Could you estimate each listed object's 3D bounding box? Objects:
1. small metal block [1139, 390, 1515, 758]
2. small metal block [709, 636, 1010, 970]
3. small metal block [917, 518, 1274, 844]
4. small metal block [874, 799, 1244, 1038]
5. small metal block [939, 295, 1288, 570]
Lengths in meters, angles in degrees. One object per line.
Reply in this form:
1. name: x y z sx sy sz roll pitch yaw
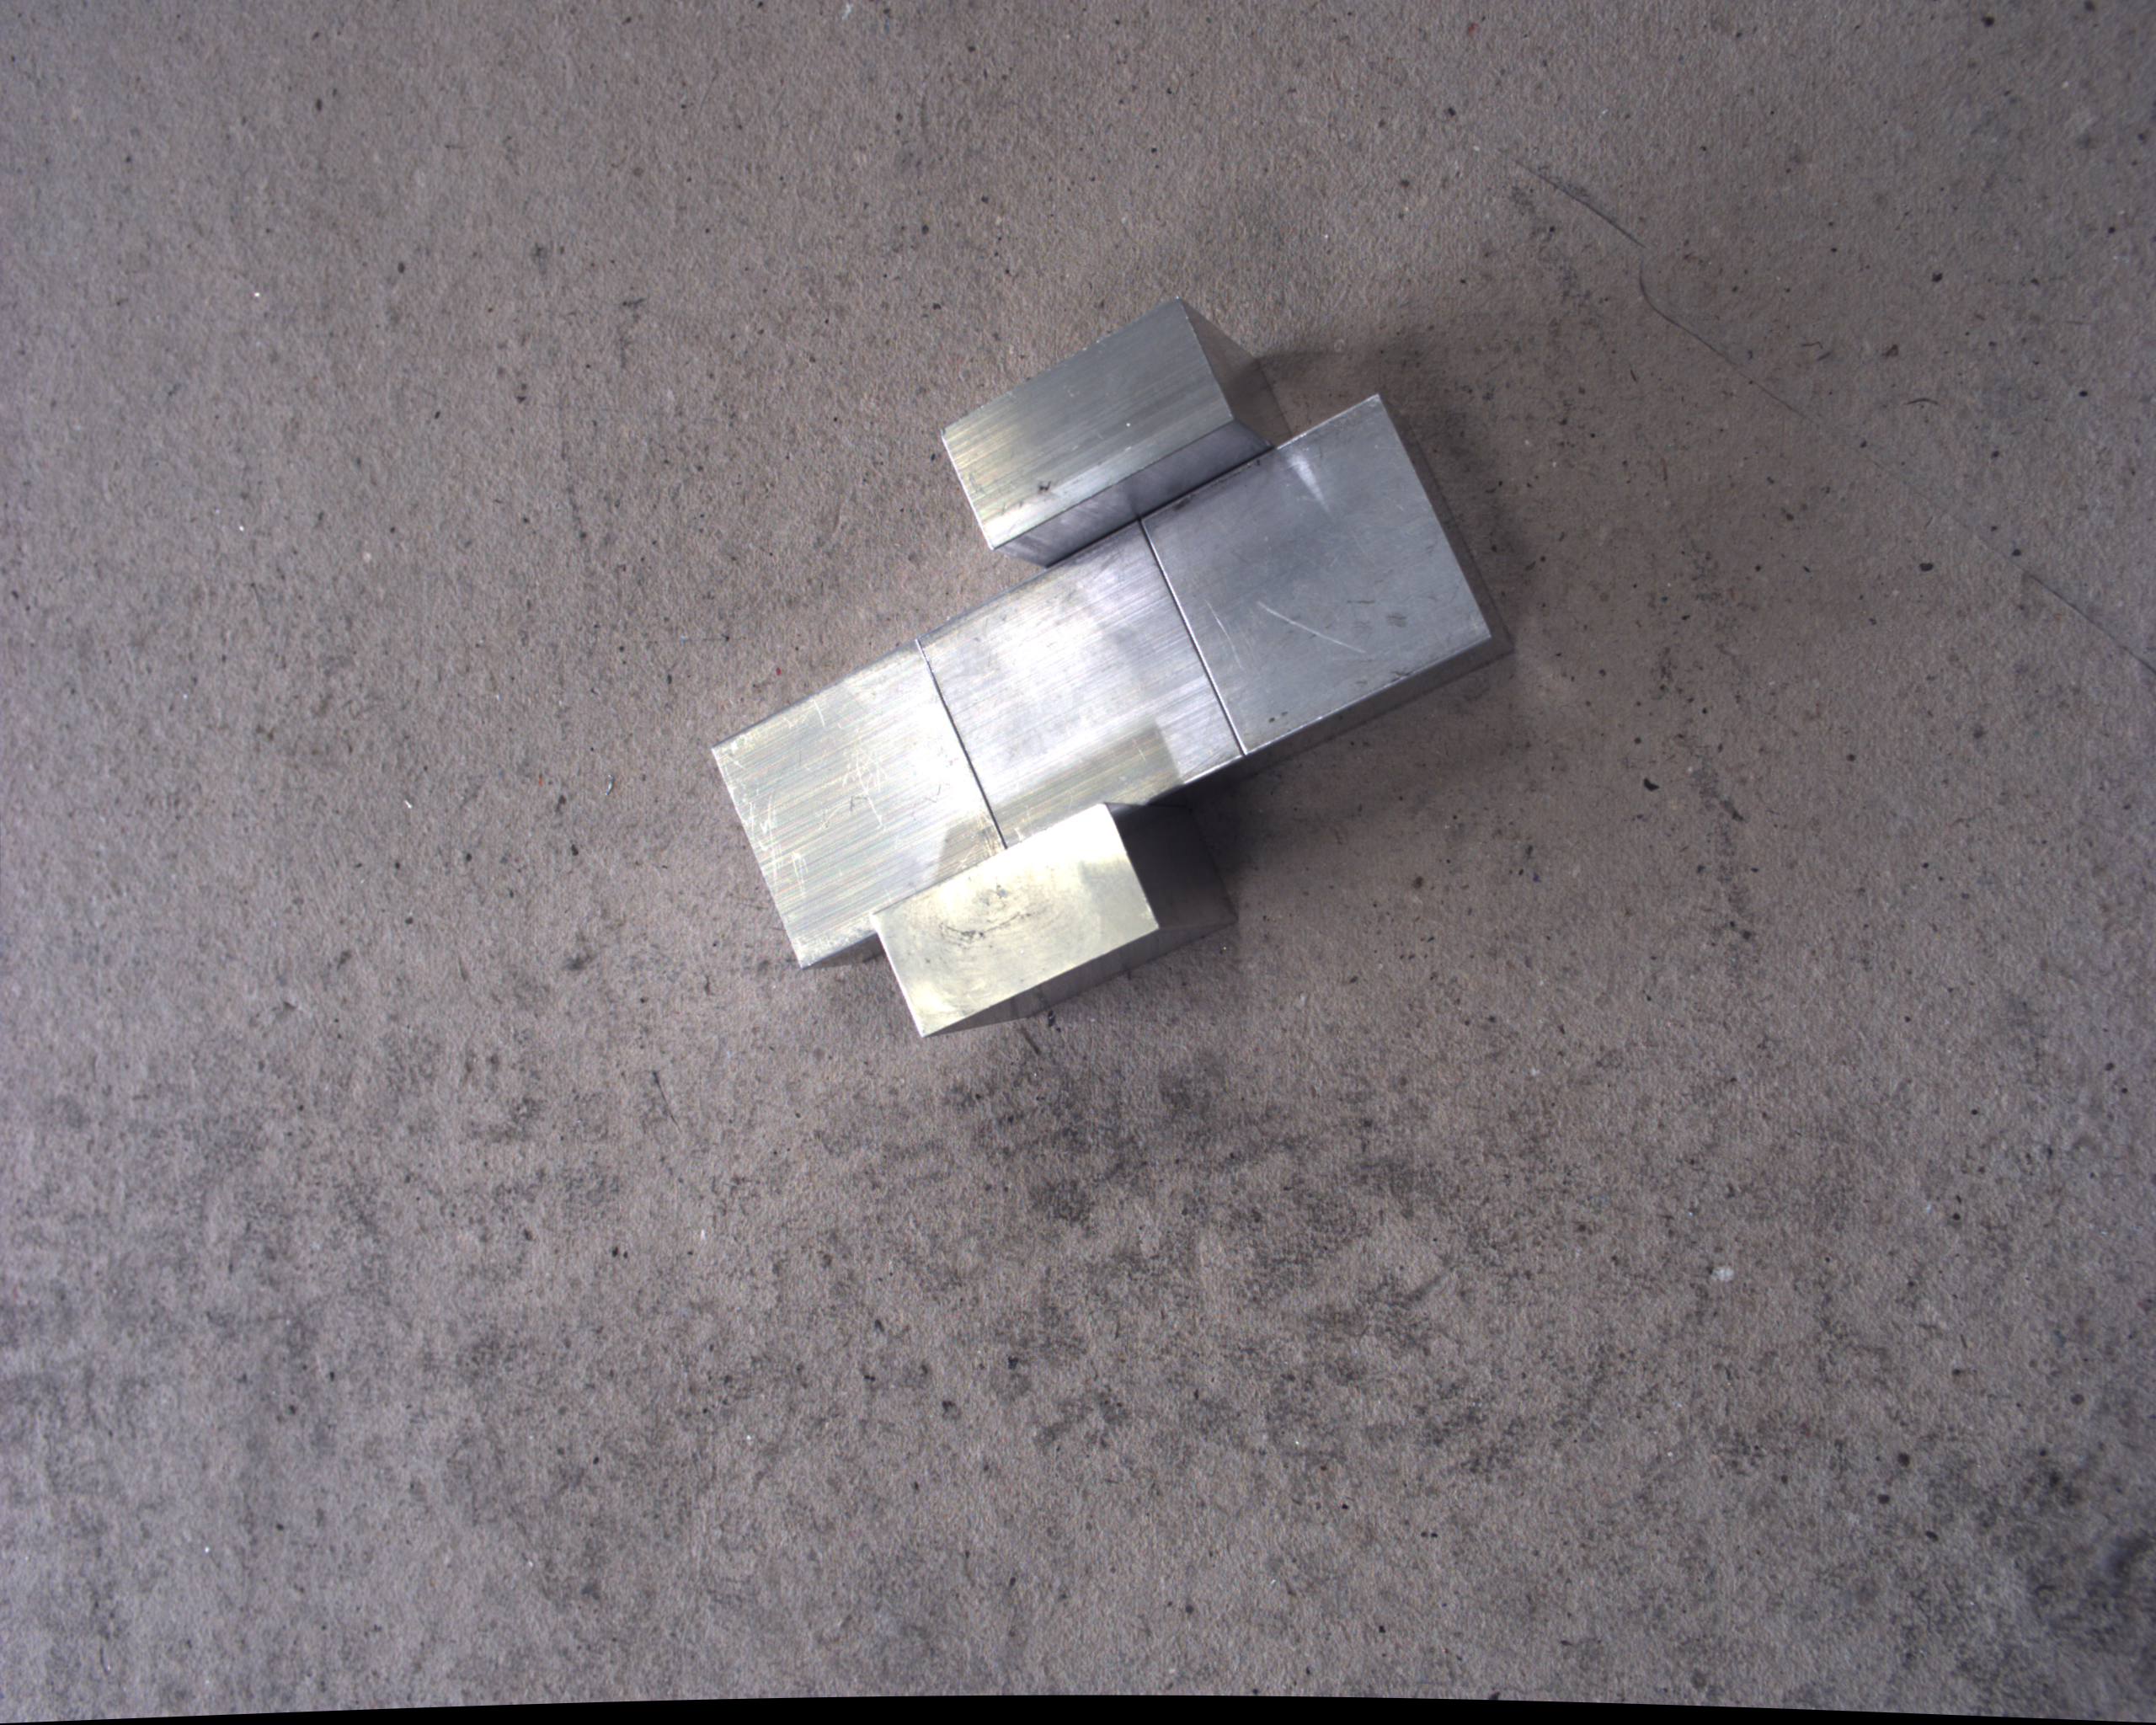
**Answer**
1. small metal block: 0.047 -0.053 0.393 0.050 0.025 0.050 -26 82 18
2. small metal block: -0.039 -0.012 0.424 0.050 0.025 0.050 -26 82 18
3. small metal block: 0.004 -0.032 0.408 0.050 0.025 0.050 -26 82 18
4. small metal block: -0.002 0.010 0.398 0.050 0.050 0.025 -26 81 18
5. small metal block: 0.010 -0.078 0.394 0.050 0.050 0.025 -26 82 19
